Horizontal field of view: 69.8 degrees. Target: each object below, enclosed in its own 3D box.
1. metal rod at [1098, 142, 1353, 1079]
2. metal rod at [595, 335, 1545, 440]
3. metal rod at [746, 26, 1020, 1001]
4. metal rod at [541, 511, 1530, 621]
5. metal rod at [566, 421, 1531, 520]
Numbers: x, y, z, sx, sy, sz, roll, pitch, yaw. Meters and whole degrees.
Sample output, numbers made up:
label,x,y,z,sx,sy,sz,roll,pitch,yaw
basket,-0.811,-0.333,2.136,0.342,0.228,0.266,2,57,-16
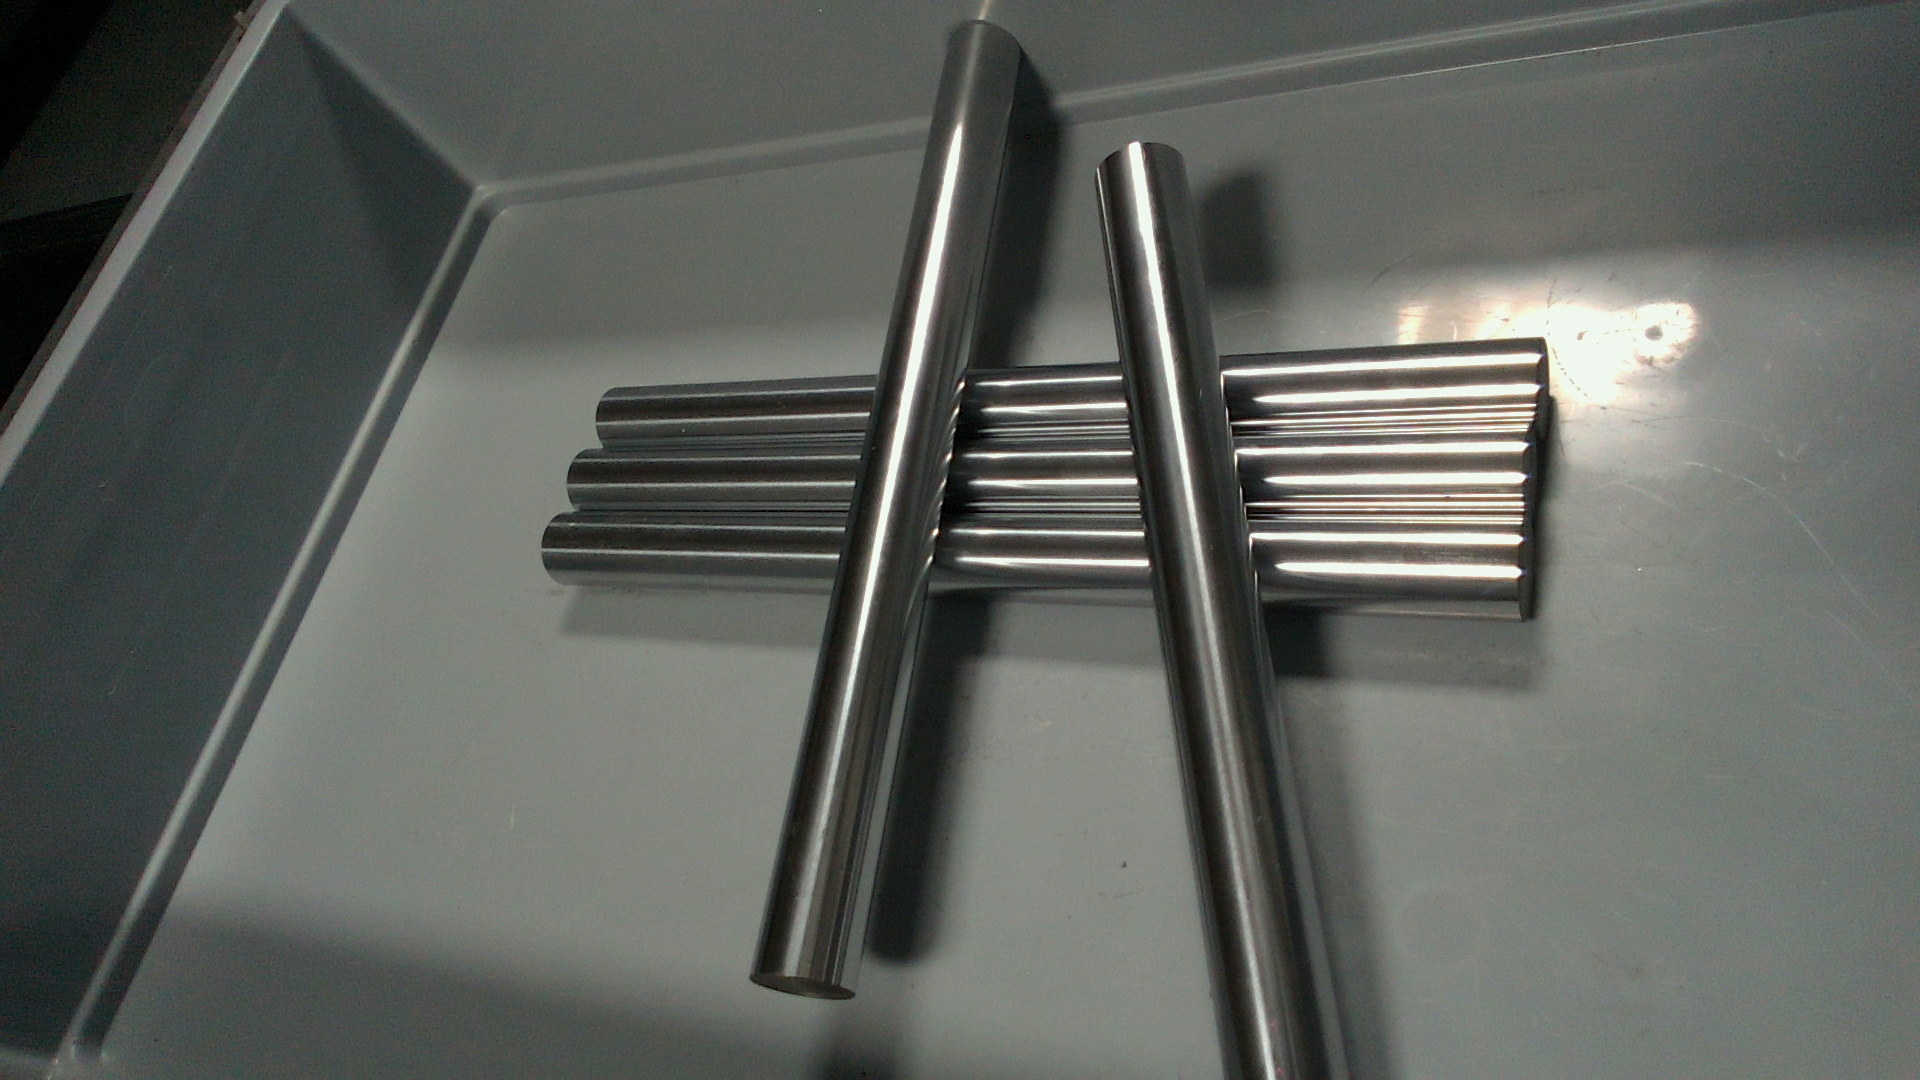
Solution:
label,x,y,z,sx,sy,sz,roll,pitch,yaw
metal rod,0.060,0.033,0.313,0.025,0.025,0.300,-15,62,20
metal rod,0.012,-0.039,0.411,0.299,0.025,0.025,1,62,29
metal rod,-0.015,-0.028,0.385,0.025,0.025,0.300,-5,59,26
metal rod,0.000,0.005,0.390,0.299,0.025,0.025,1,62,29
metal rod,0.005,-0.018,0.401,0.299,0.025,0.025,1,62,29
